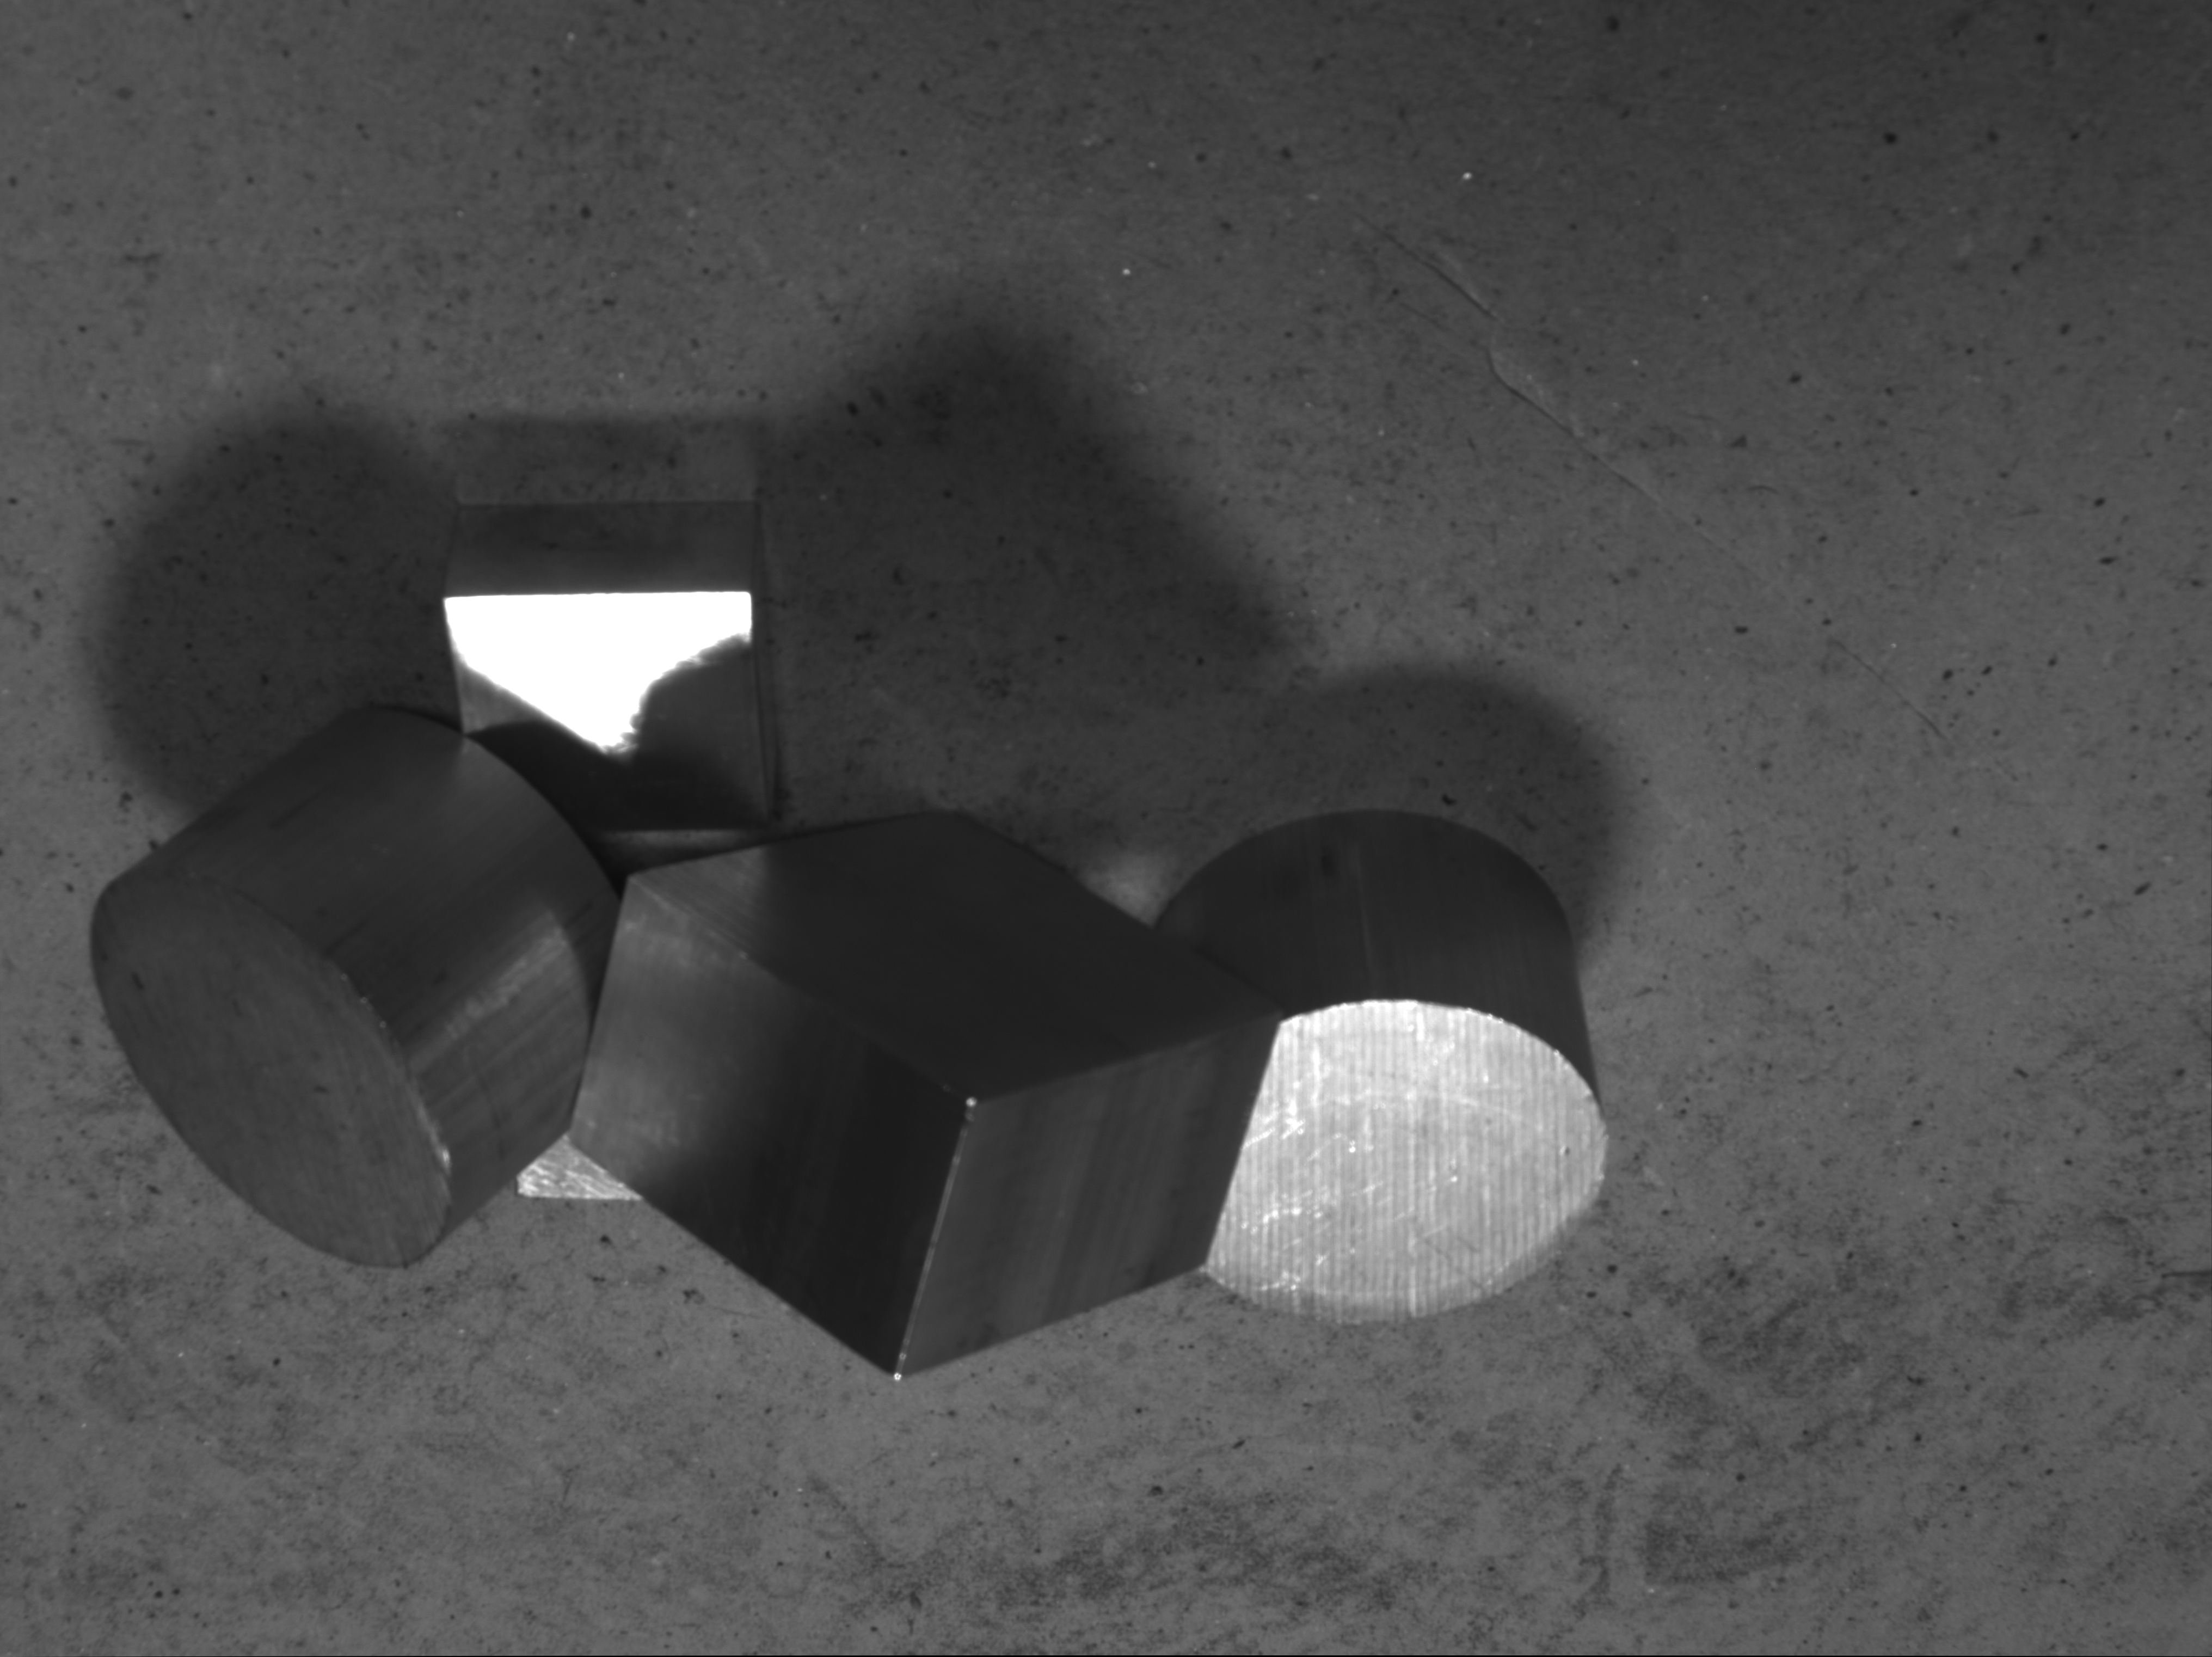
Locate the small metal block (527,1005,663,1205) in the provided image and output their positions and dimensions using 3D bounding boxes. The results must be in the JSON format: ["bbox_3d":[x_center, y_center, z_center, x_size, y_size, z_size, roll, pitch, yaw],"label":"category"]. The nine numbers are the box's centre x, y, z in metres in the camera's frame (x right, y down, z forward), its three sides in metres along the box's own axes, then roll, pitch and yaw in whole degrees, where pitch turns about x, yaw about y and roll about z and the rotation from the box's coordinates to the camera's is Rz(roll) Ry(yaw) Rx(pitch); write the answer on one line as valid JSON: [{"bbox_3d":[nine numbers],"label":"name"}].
[{"bbox_3d":[-0.079,0.043,0.671,0.050,0.025,0.050,2,130,-4],"label":"small metal block"}]

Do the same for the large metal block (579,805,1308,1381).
[{"bbox_3d":[-0.027,0.041,0.612,0.080,0.080,0.050,-12,125,-49],"label":"large metal block"}]

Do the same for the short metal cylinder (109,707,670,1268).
[{"bbox_3d":[-0.120,0.027,0.617,0.080,0.050,0.080,24,135,26],"label":"short metal cylinder"}]

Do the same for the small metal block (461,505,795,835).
[{"bbox_3d":[-0.079,-0.026,0.614,0.050,0.025,0.050,-1,130,-1],"label":"small metal block"}]

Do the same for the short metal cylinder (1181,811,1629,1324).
[{"bbox_3d":[0.051,0.044,0.660,0.080,0.050,0.080,-1,130,-1],"label":"short metal cylinder"}]
